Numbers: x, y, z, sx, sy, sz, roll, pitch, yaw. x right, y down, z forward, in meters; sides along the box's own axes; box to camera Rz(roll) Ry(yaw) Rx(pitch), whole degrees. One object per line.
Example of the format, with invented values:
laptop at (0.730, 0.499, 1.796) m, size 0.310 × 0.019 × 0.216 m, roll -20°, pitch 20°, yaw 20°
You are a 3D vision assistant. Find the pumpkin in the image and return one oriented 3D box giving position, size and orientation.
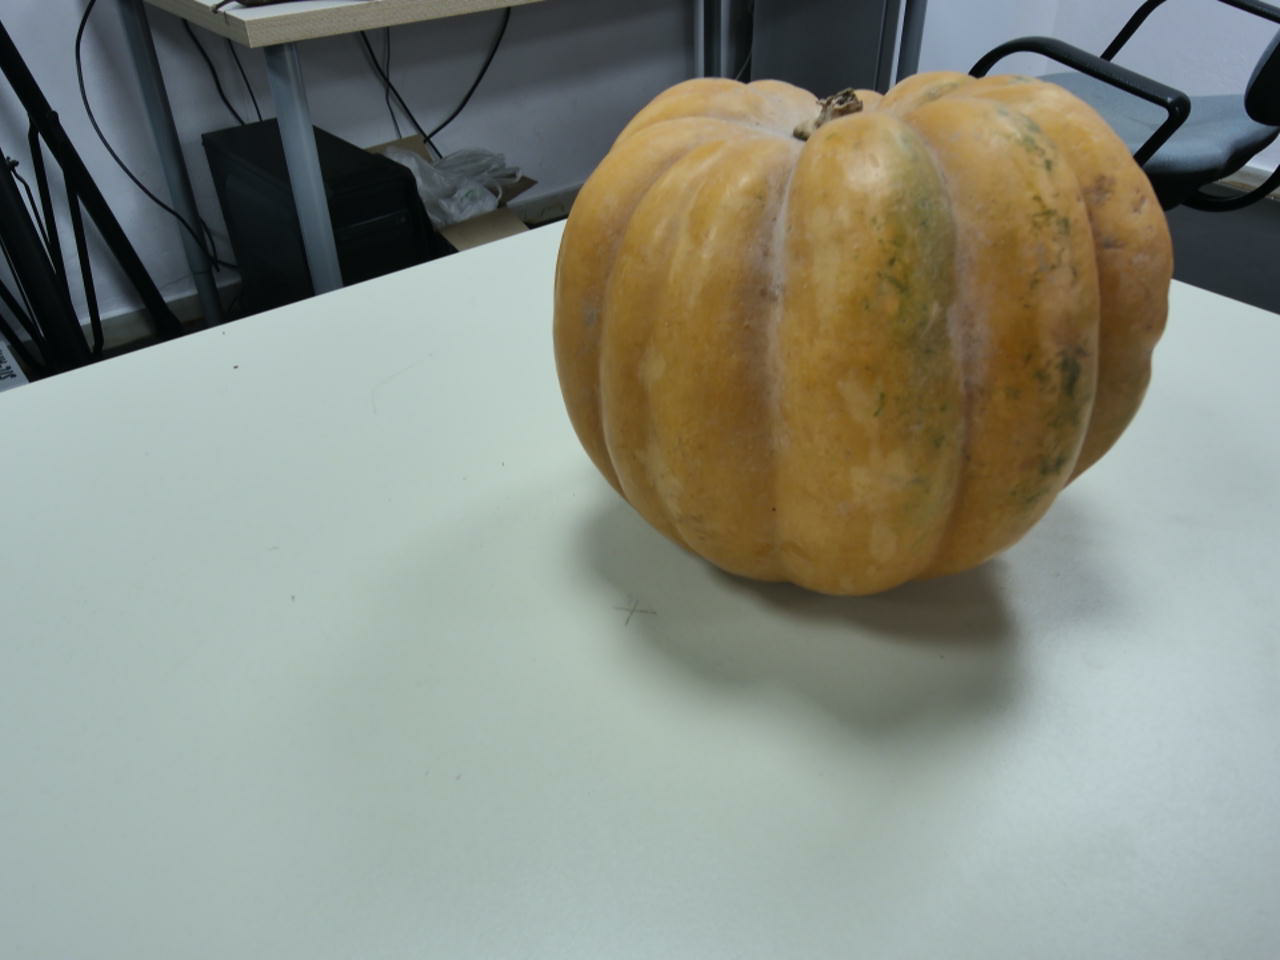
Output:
pumpkin at (0.078, -0.061, 0.394) m, size 0.230 × 0.194 × 0.230 m, roll 0°, pitch 35°, yaw 0°
